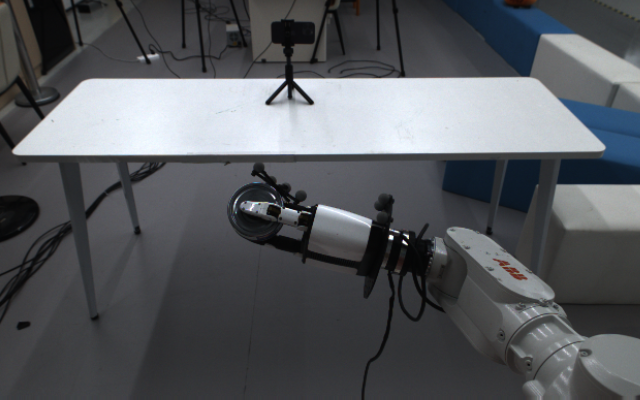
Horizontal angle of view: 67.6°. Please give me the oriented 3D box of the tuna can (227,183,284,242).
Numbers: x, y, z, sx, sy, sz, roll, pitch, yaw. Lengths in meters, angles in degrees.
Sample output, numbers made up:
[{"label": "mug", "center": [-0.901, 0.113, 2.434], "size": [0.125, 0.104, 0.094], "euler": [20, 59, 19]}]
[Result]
[{"label": "tuna can", "center": [-0.091, 0.024, 0.723], "size": [0.085, 0.034, 0.085], "euler": [0, 73, -1]}]
